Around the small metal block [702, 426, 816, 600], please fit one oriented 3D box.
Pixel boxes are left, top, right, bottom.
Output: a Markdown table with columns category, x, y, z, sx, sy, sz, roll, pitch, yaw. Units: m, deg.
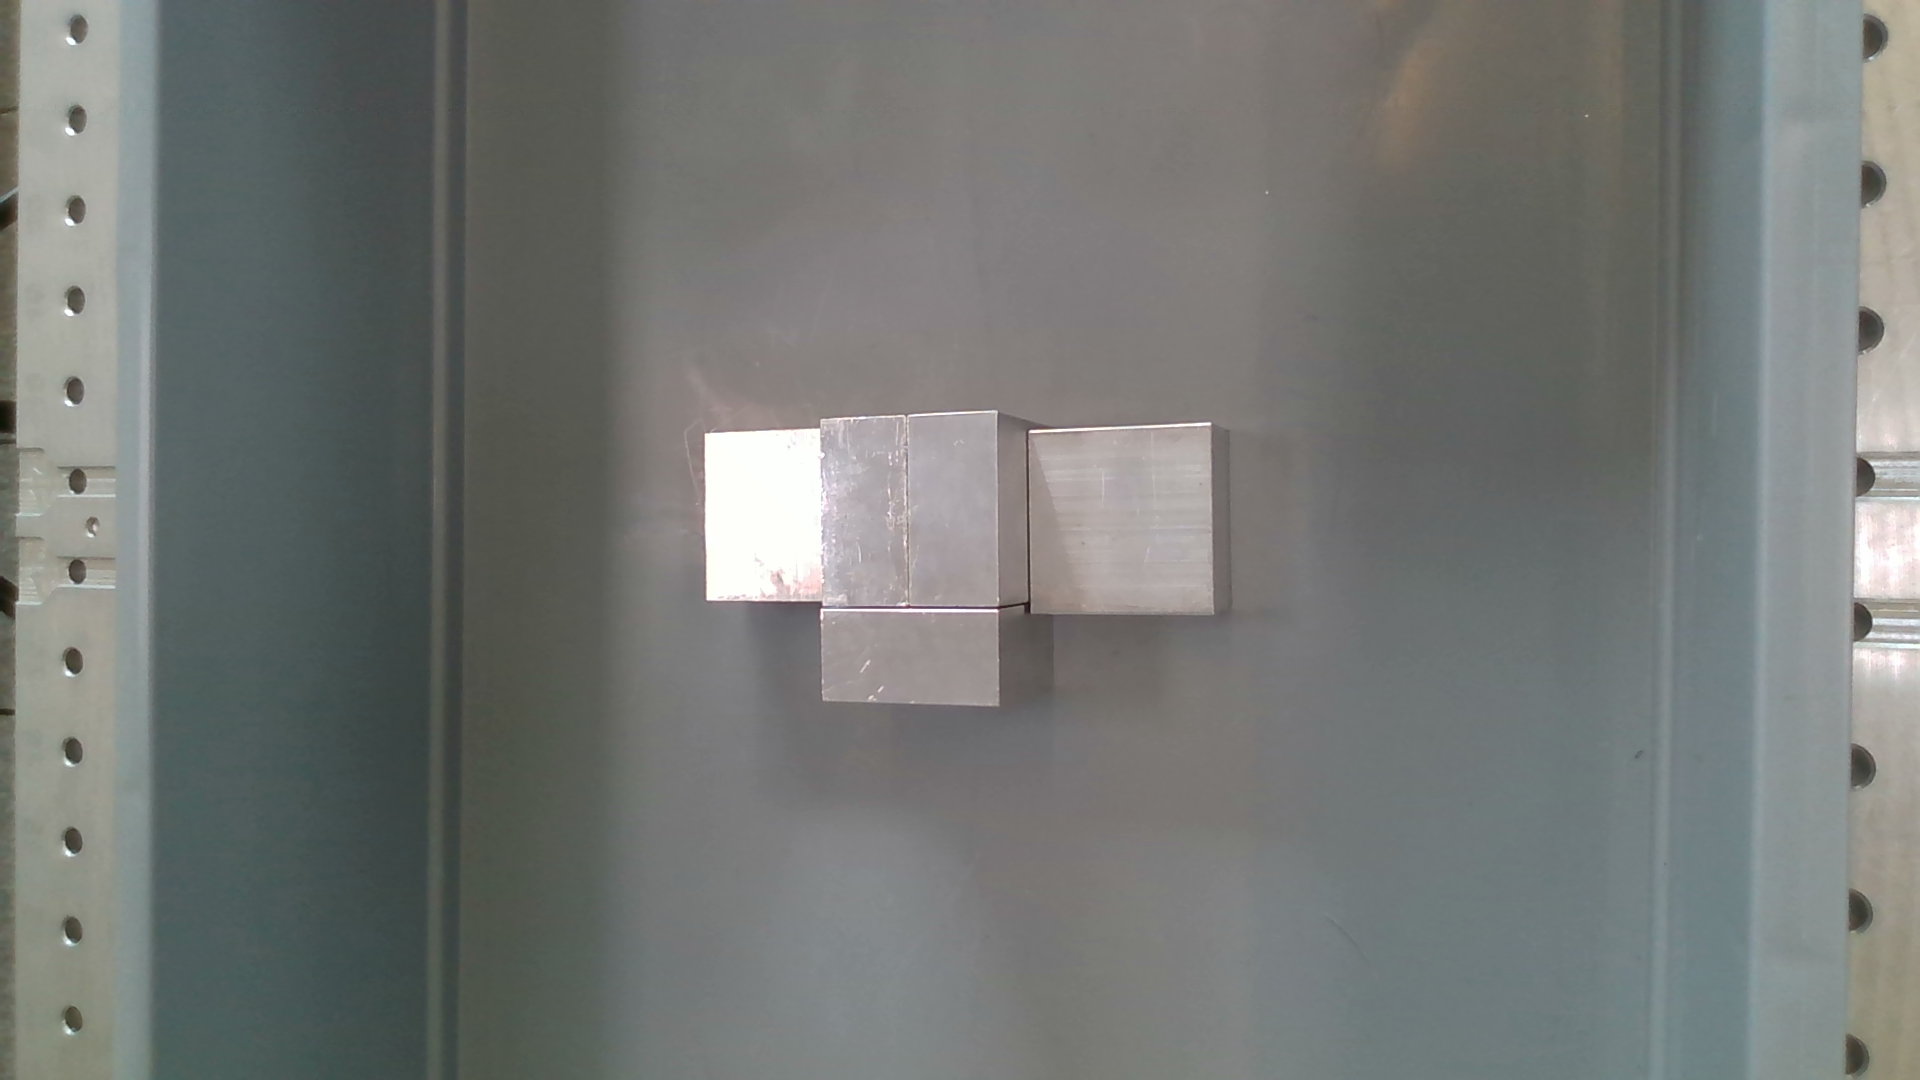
| category | x | y | z | sx | sy | sz | roll | pitch | yaw |
| --- | --- | --- | --- | --- | --- | --- | --- | --- | --- |
| small metal block | -0.048 | -0.008 | 0.410 | 0.050 | 0.025 | 0.050 | 0 | 90 | 20 |

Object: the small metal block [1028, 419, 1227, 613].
| category | x | y | z | sx | sy | sz | roll | pitch | yaw |
| --- | --- | --- | --- | --- | --- | --- | --- | --- | --- |
| small metal block | 0.046 | -0.006 | 0.375 | 0.050 | 0.025 | 0.050 | 0 | 90 | 20 |

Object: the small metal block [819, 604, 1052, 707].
| category | x | y | z | sx | sy | sz | roll | pitch | yaw |
| --- | --- | --- | --- | --- | --- | --- | --- | --- | --- |
| small metal block | -0.005 | 0.030 | 0.381 | 0.050 | 0.050 | 0.025 | 0 | 90 | 20 |

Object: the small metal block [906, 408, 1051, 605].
| category | x | y | z | sx | sy | sz | roll | pitch | yaw |
| --- | --- | --- | --- | --- | --- | --- | --- | --- | --- |
| small metal block | 0.006 | -0.008 | 0.377 | 0.025 | 0.050 | 0.050 | 0 | 90 | 20 |

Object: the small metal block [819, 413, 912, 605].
| category | x | y | z | sx | sy | sz | roll | pitch | yaw |
| --- | --- | --- | --- | --- | --- | --- | --- | --- | --- |
| small metal block | -0.017 | -0.008 | 0.385 | 0.025 | 0.050 | 0.050 | 0 | 90 | 20 |
